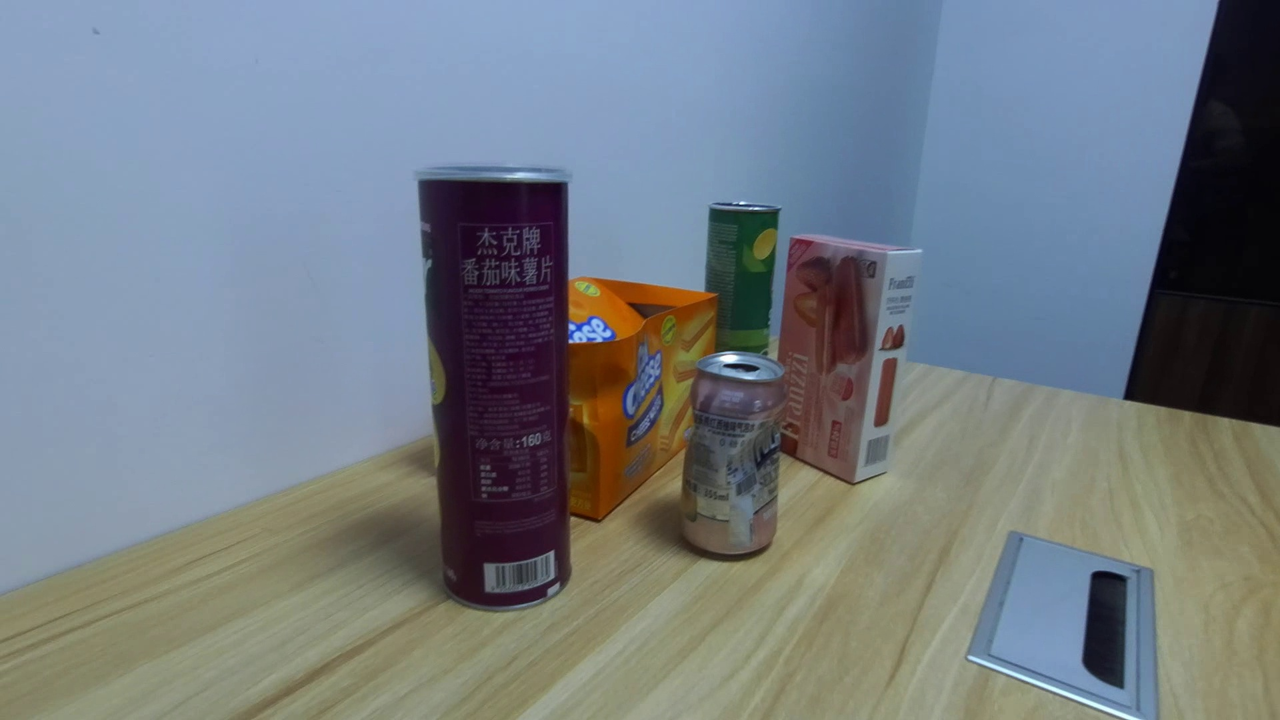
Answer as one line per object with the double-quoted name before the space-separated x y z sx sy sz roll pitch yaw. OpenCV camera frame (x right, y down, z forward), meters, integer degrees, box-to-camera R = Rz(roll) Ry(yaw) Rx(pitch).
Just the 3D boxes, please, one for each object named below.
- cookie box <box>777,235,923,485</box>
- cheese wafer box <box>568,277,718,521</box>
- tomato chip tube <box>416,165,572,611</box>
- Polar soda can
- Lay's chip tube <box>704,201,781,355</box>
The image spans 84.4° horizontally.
"cookie box" 0.161 -0.004 0.576 0.049 0.184 0.095 -9 19 -38
"cheese wafer box" -0.041 0.018 0.584 0.151 0.132 0.231 11 18 23
"tomato chip tube" -0.076 0.017 0.392 0.078 0.234 0.078 1 17 0
"Polar soda can" 0.063 0.061 0.458 0.074 0.122 0.067 -5 17 -21
"Lay's chip tube" 0.097 -0.051 0.698 0.071 0.202 0.071 2 15 0
